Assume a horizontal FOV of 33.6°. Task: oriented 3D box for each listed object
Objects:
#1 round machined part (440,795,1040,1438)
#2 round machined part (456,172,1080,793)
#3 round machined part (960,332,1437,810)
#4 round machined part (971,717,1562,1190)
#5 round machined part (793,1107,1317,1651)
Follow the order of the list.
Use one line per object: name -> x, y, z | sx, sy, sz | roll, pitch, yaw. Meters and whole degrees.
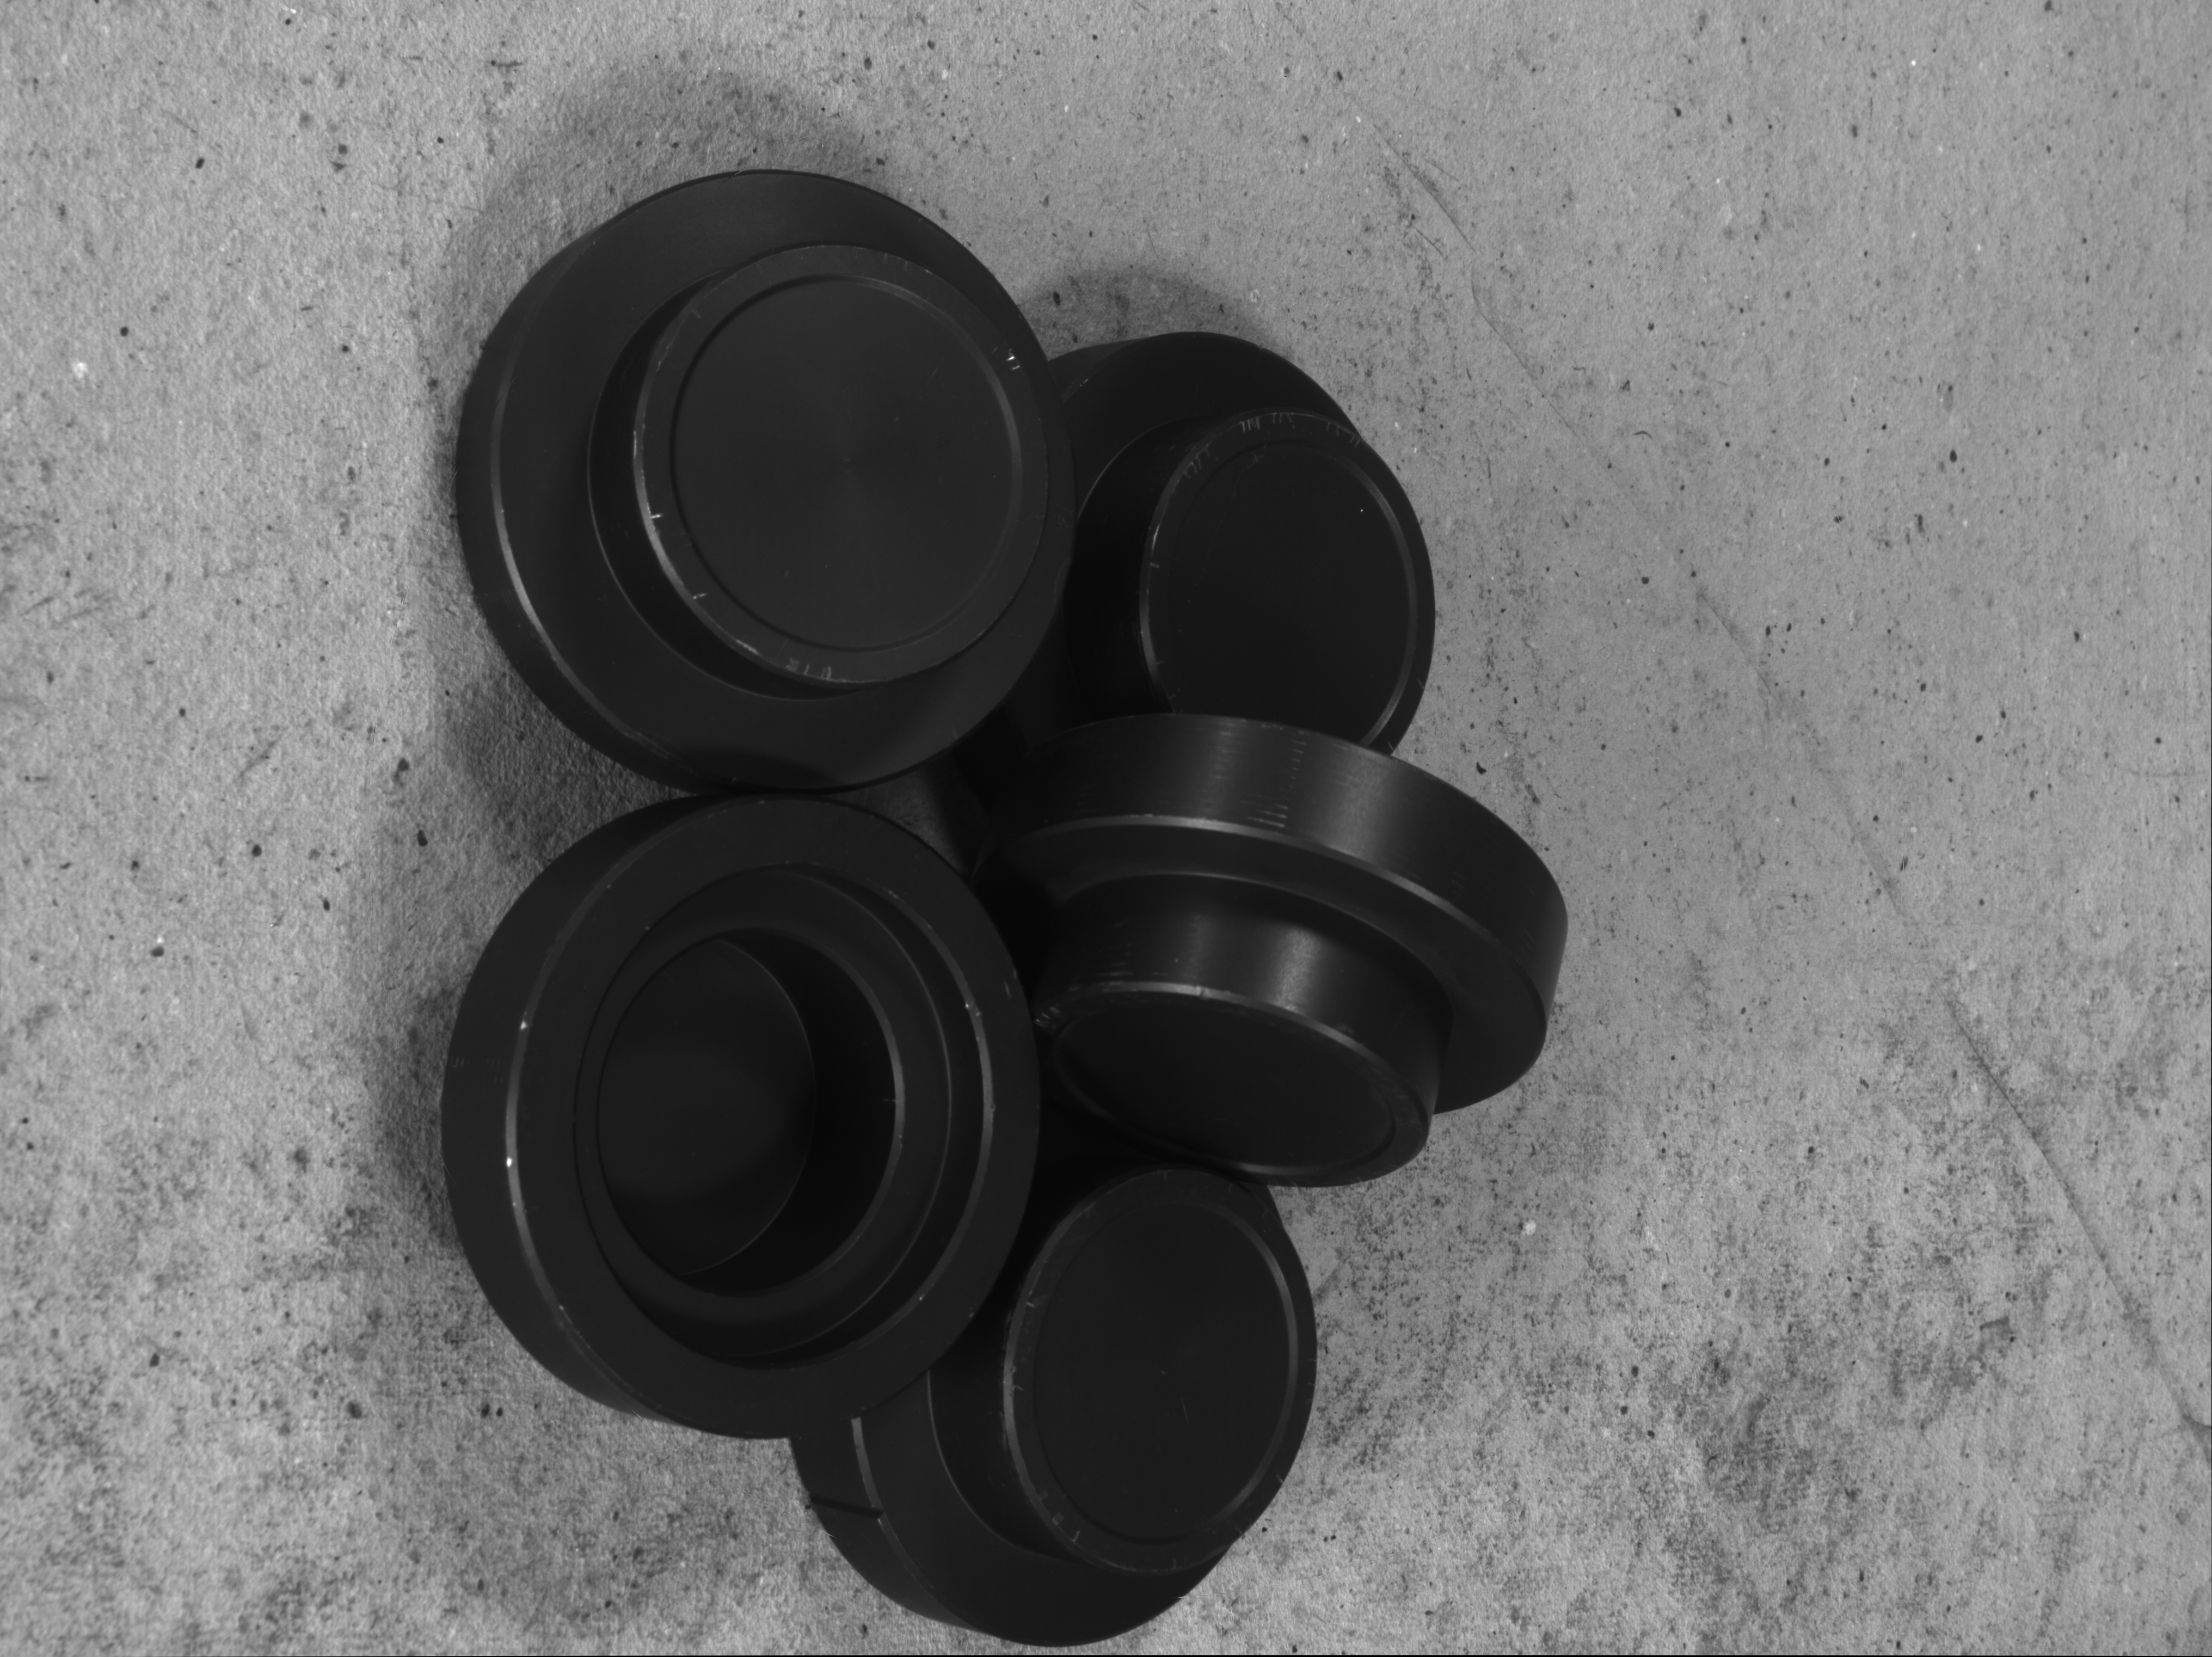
round machined part -> -0.061, 0.043, 0.574 | 0.098, 0.042, 0.098 | -1, 92, -40
round machined part -> -0.048, -0.054, 0.572 | 0.098, 0.042, 0.098 | 1, 87, -26
round machined part -> 0.019, -0.038, 0.641 | 0.098, 0.042, 0.098 | 1, 88, -40
round machined part -> 0.024, 0.026, 0.605 | 0.098, 0.098, 0.042 | 36, 54, -34
round machined part -> -0.003, 0.090, 0.622 | 0.098, 0.042, 0.098 | 2, 87, -40
